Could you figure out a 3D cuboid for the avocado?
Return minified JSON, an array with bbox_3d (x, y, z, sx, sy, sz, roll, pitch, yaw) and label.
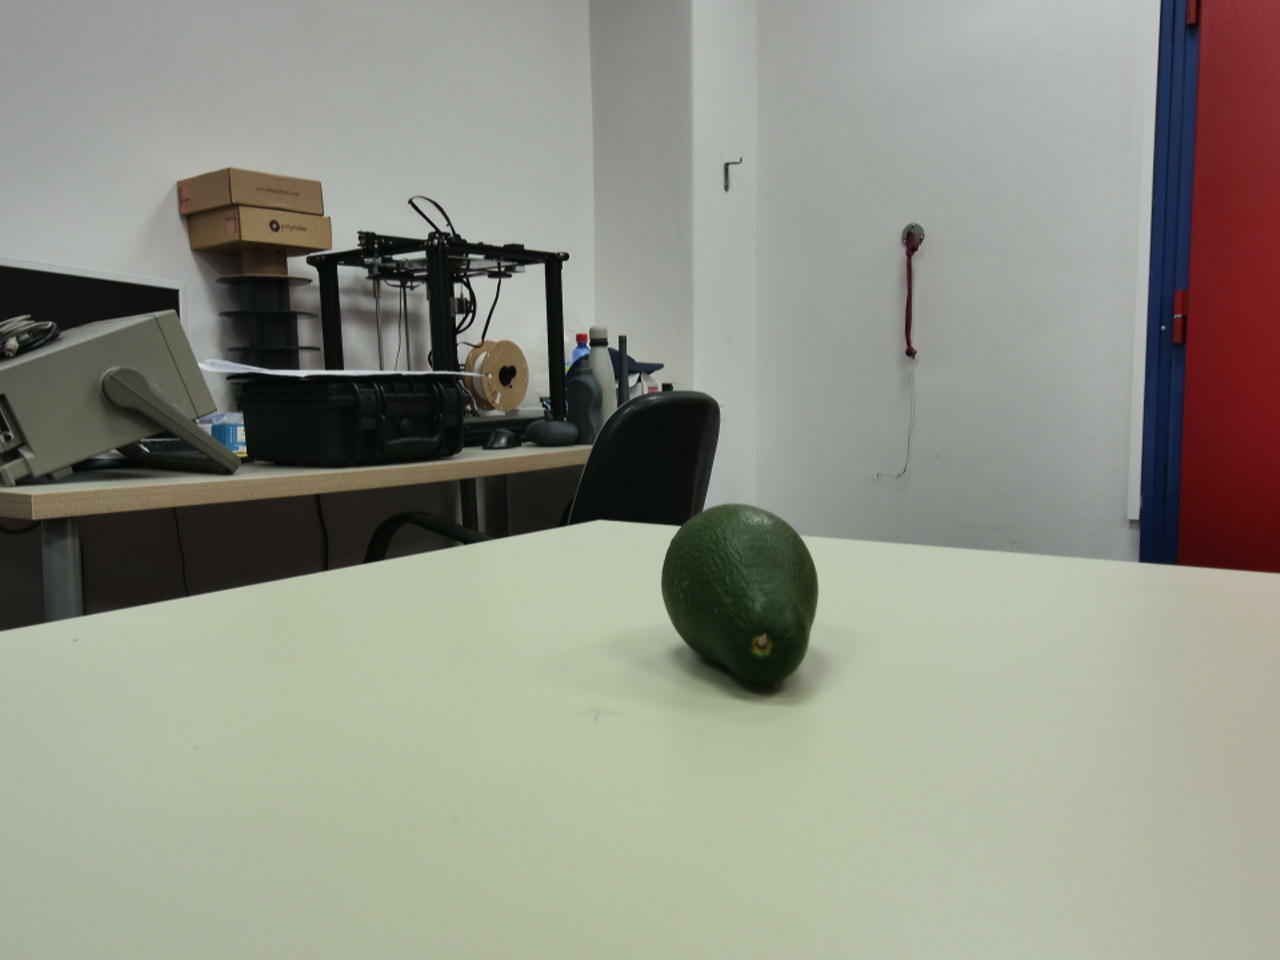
[{"bbox_3d":[0.042,0.048,0.444,0.073,0.071,0.109,1,3,15],"label":"avocado"}]
